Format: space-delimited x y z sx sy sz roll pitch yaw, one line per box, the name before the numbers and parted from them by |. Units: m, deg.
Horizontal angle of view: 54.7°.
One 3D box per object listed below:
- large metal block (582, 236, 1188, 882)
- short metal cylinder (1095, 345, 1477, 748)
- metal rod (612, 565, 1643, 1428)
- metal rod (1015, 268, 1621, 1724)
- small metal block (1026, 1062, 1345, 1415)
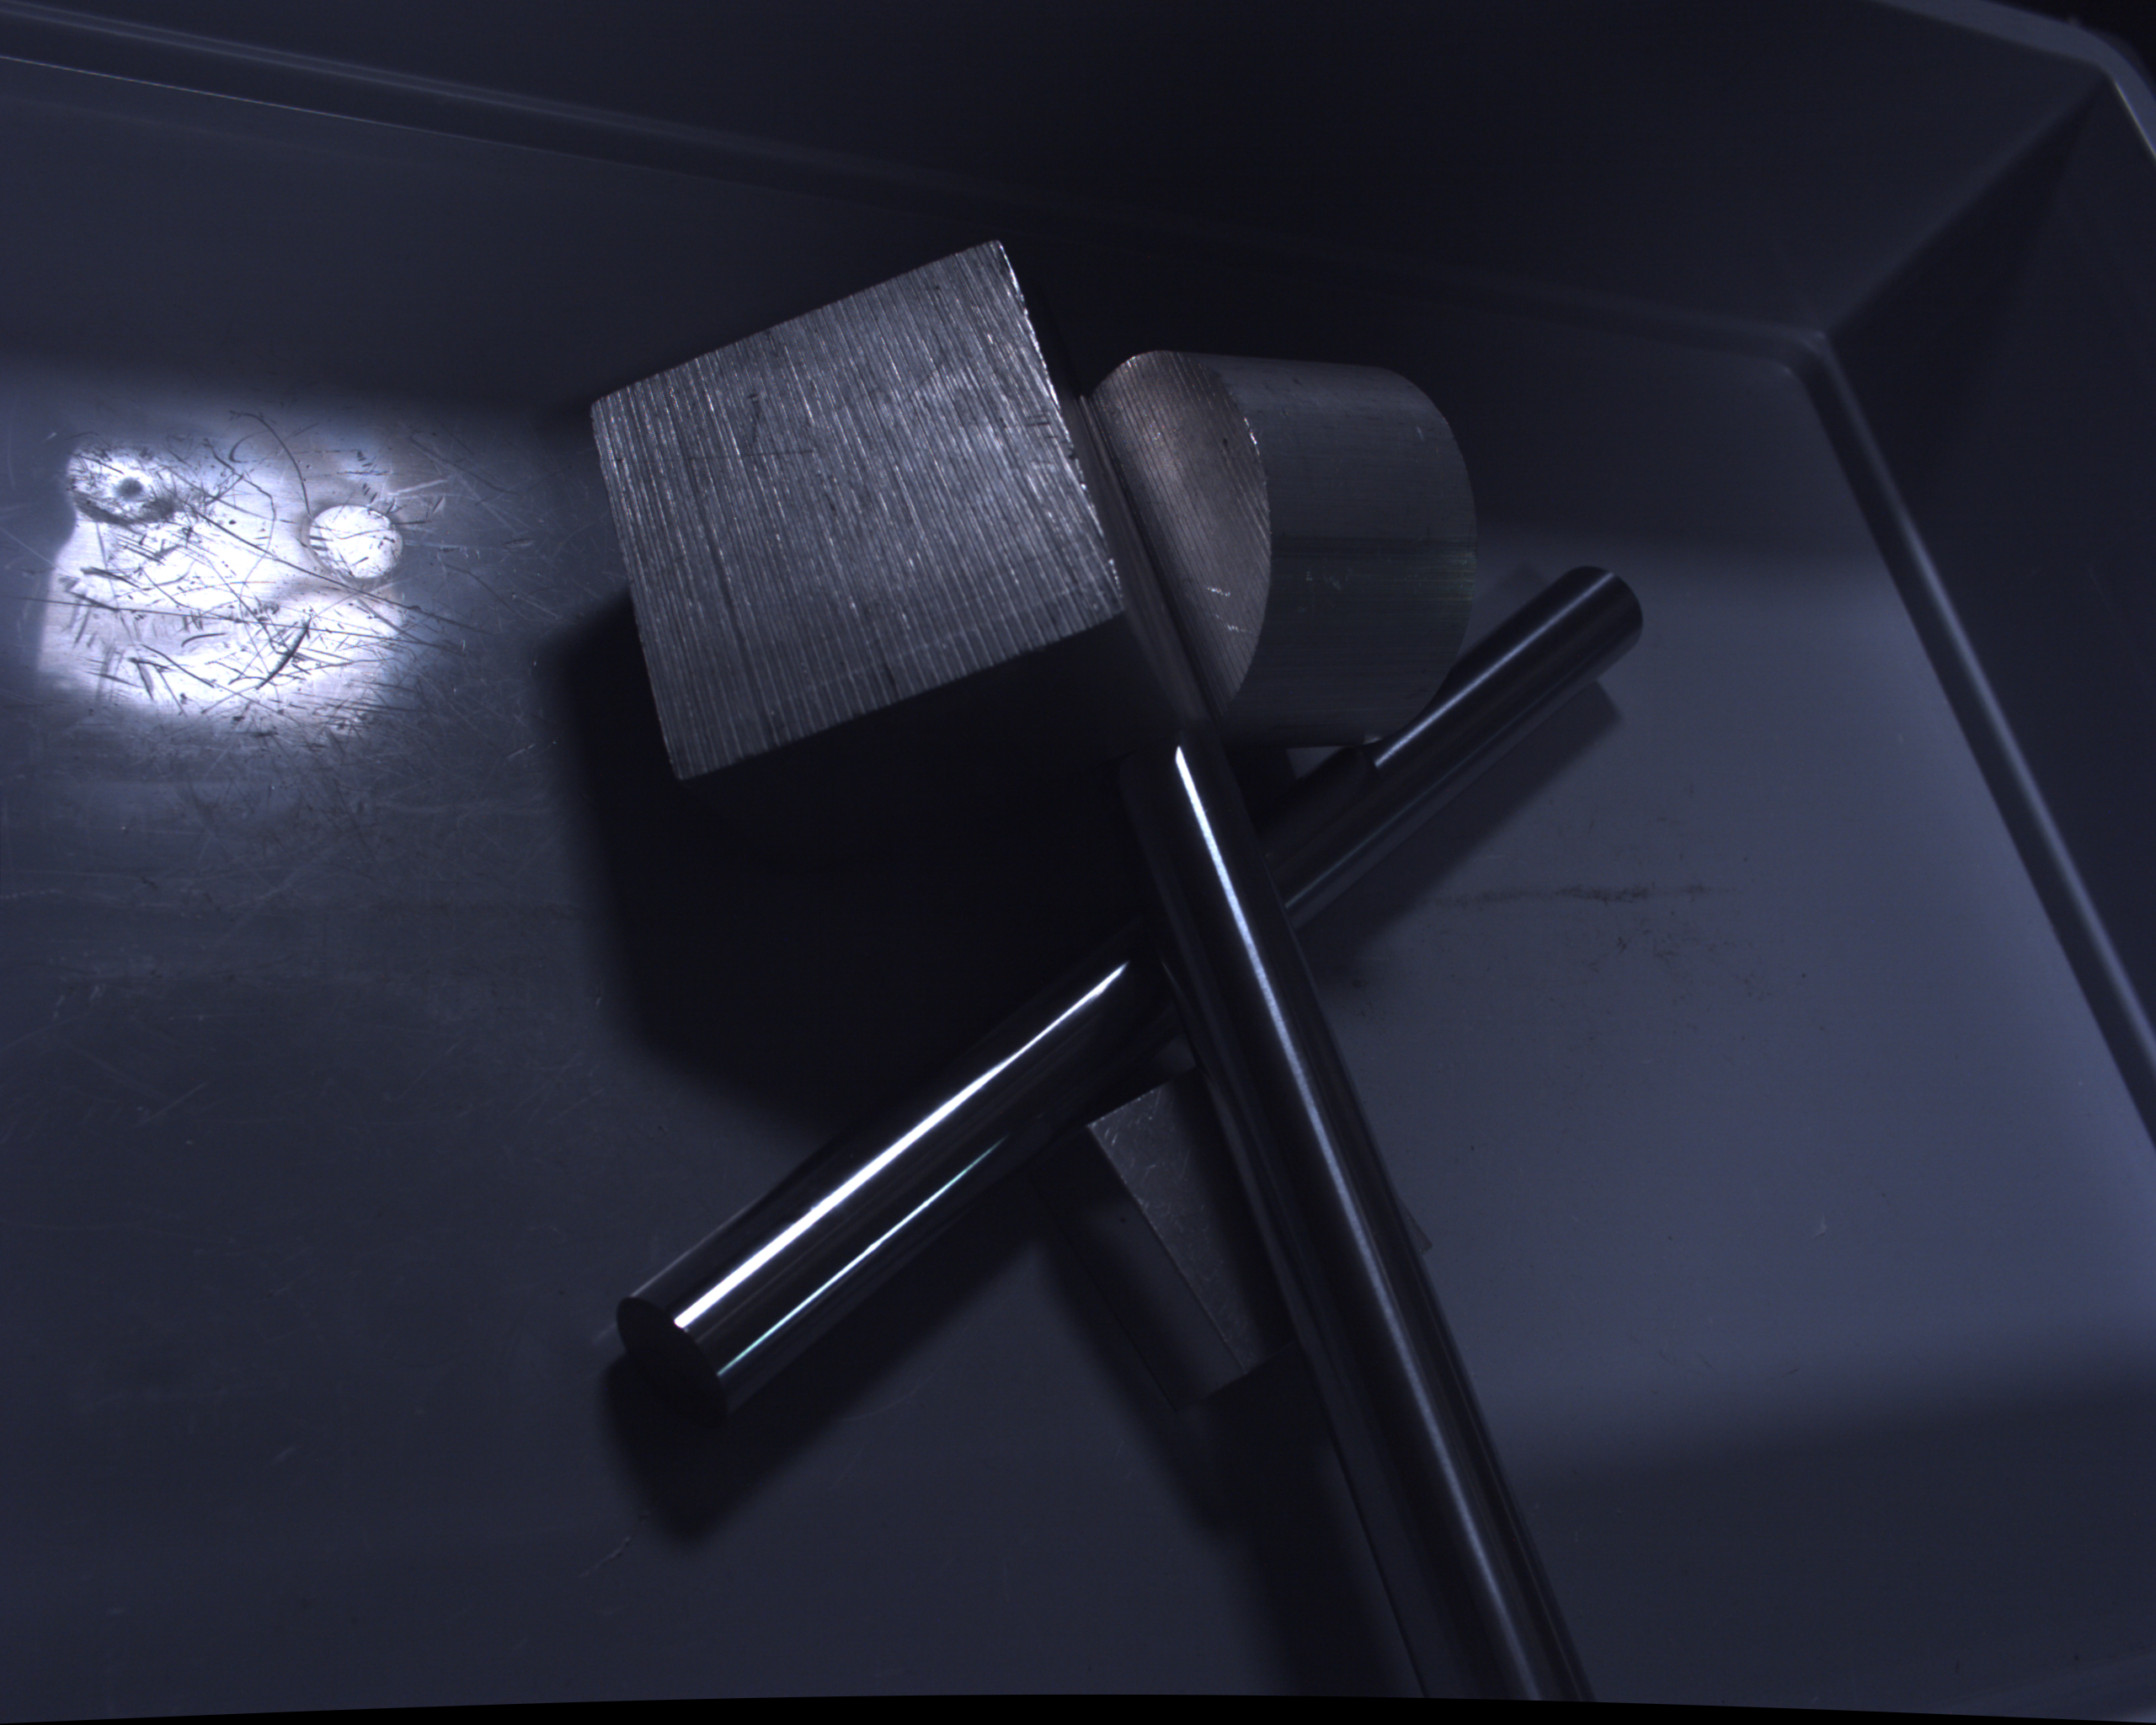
large metal block | -0.035 -0.053 0.378 0.080 0.050 0.080 -20 67 7
short metal cylinder | 0.035 -0.063 0.427 0.050 0.080 0.080 -4 64 -32
metal rod | 0.032 0.008 0.417 0.025 0.025 0.302 49 51 6
metal rod | 0.029 0.014 0.379 0.025 0.025 0.299 -5 63 -31
small metal block | 0.028 0.064 0.381 0.050 0.025 0.050 -24 75 -37
